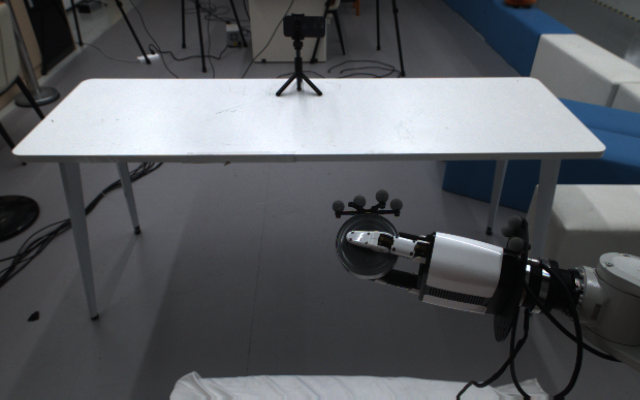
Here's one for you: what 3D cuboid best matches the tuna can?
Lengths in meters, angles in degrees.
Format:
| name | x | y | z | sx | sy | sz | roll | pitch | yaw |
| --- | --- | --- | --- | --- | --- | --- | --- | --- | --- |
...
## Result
| name | x | y | z | sx | sy | sz | roll | pitch | yaw |
| --- | --- | --- | --- | --- | --- | --- | --- | --- | --- |
| tuna can | 0.065 | 0.060 | 0.646 | 0.085 | 0.034 | 0.085 | -3 | 66 | 7 |
